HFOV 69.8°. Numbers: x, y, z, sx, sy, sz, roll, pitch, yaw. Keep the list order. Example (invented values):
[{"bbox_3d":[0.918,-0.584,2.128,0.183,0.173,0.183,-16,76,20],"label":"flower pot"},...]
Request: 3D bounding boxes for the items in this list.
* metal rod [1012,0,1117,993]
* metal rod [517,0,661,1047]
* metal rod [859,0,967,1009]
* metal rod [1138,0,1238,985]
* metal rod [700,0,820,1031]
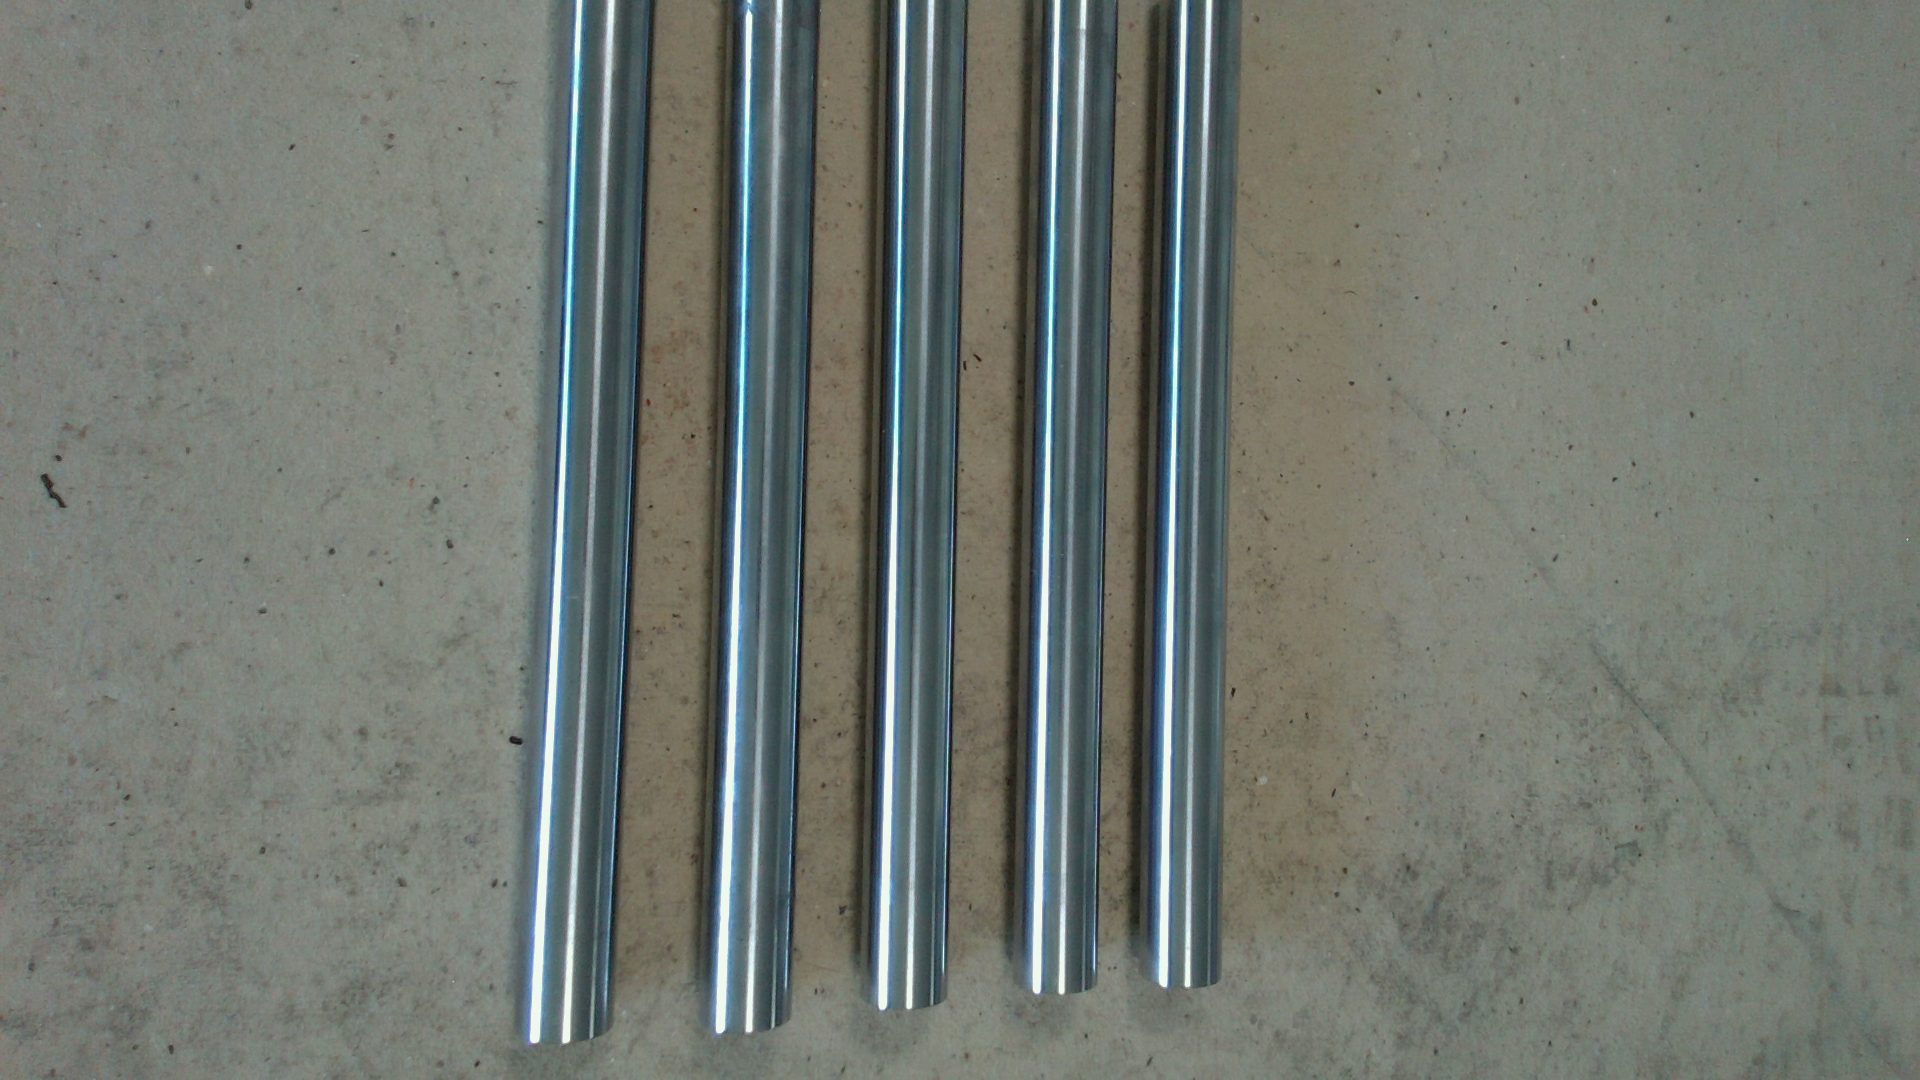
[{"bbox_3d":[0.031,-0.021,0.405,0.025,0.025,0.300,1,90,-20],"label":"metal rod"},{"bbox_3d":[-0.095,-0.024,0.357,0.025,0.025,0.300,3,89,-20],"label":"metal rod"},{"bbox_3d":[-0.013,-0.022,0.389,0.025,0.025,0.300,1,90,-20],"label":"metal rod"},{"bbox_3d":[0.069,-0.019,0.419,0.025,0.025,0.300,1,90,-20],"label":"metal rod"},{"bbox_3d":[-0.054,-0.021,0.374,0.025,0.025,0.300,2,89,-20],"label":"metal rod"}]
